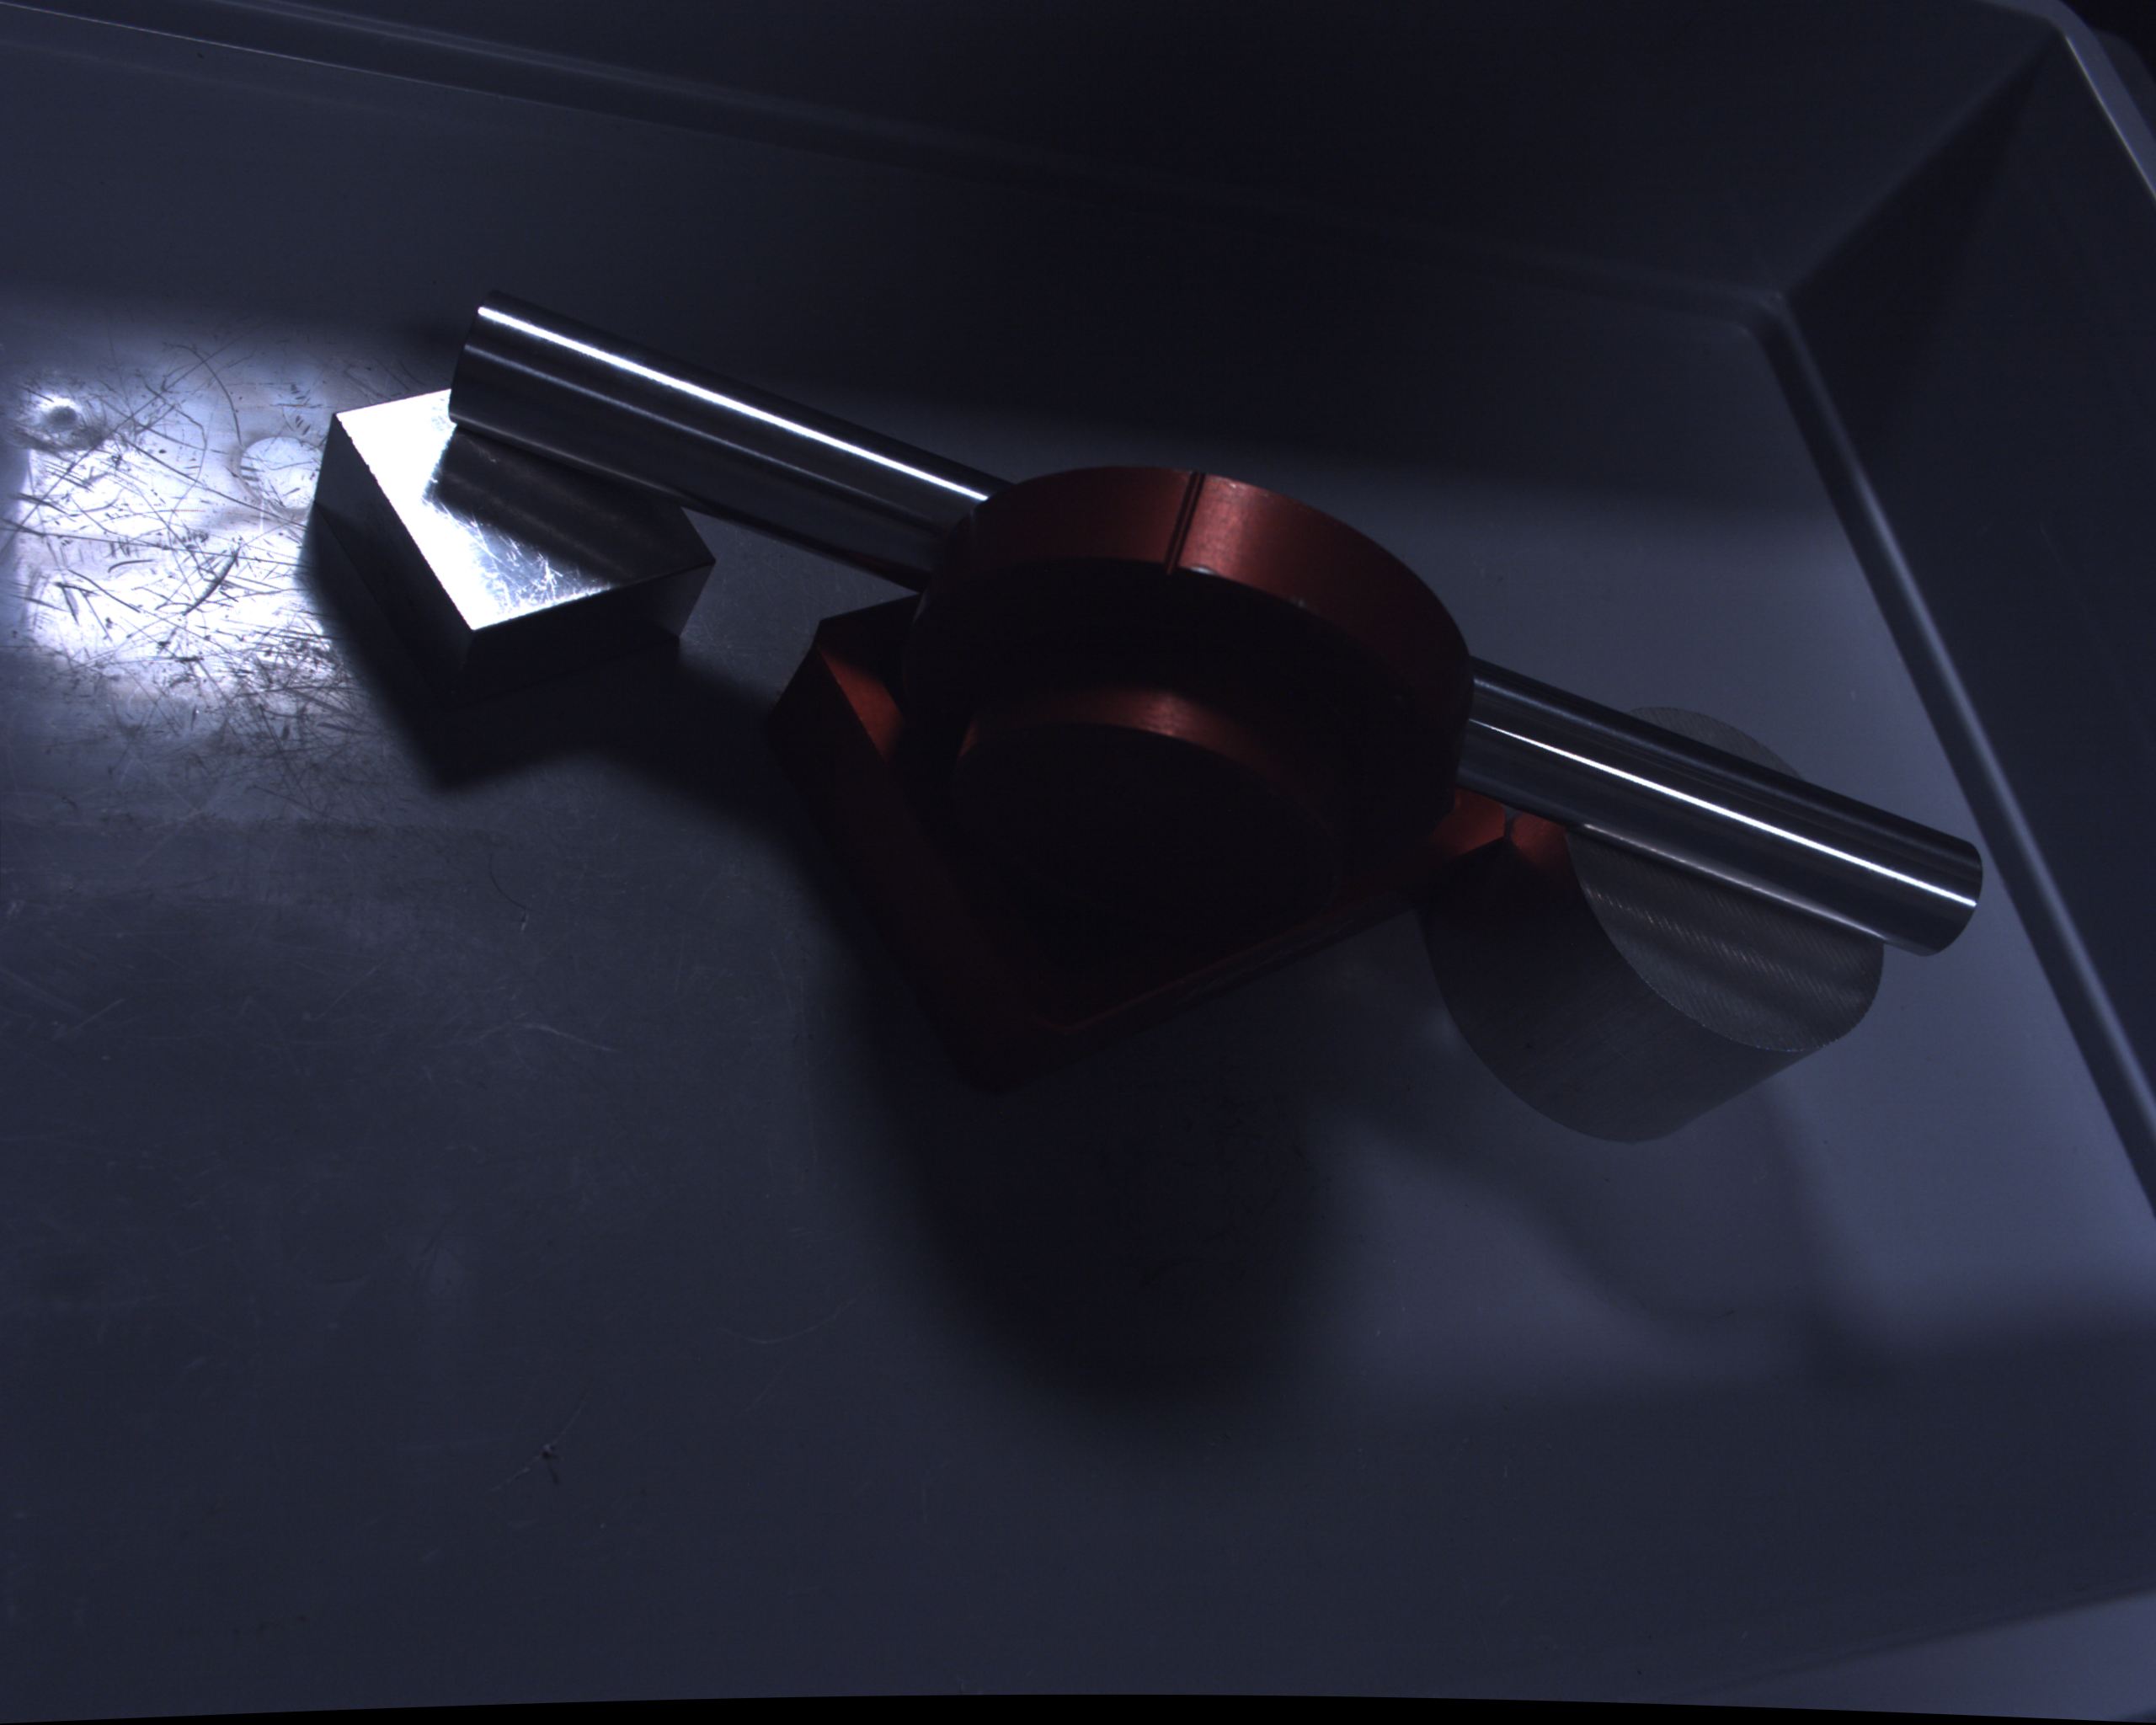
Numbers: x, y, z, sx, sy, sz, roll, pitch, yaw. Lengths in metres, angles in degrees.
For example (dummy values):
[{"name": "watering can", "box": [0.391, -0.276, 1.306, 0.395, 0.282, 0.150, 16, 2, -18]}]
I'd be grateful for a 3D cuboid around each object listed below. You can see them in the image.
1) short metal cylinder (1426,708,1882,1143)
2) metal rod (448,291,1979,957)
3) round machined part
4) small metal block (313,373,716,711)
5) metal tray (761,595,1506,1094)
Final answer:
[{"name": "short metal cylinder", "box": [0.123, 0.014, 0.448, 0.081, 0.050, 0.080, 14, 56, -21]}, {"name": "metal rod", "box": [0.033, -0.041, 0.396, 0.302, 0.025, 0.025, 19, 54, -10]}, {"name": "round machined part", "box": [0.016, -0.021, 0.363, 0.099, 0.098, 0.042, 25, 61, -14]}, {"name": "small metal block", "box": [-0.104, -0.062, 0.386, 0.050, 0.025, 0.050, -25, 75, -37]}, {"name": "metal tray", "box": [0.014, -0.019, 0.420, 0.131, 0.030, 0.090, -21, 73, -36]}]
